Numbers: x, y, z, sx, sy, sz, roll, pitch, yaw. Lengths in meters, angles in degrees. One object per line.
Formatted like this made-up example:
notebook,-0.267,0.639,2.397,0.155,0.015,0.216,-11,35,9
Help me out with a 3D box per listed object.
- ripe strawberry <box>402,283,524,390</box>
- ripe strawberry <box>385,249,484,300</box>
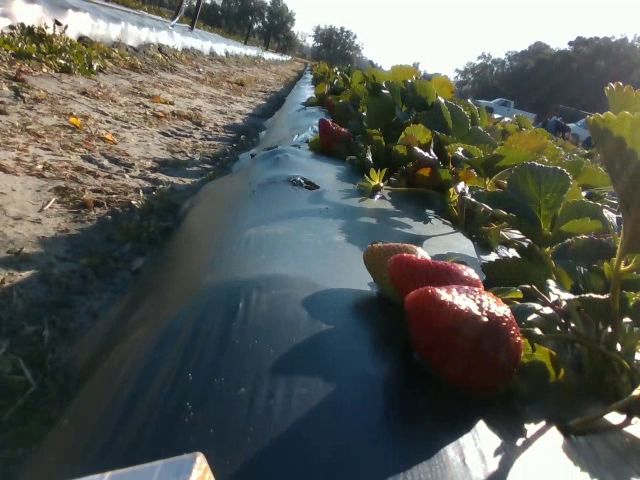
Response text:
ripe strawberry,0.057,0.035,0.259,0.056,0.051,0.067,0,-29,44
ripe strawberry,0.058,0.024,0.312,0.061,0.043,0.050,34,36,7
